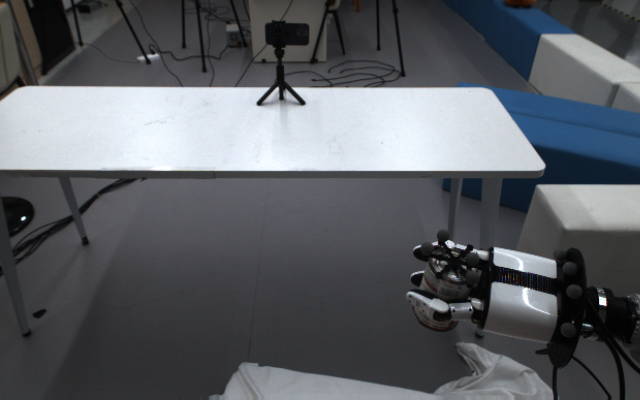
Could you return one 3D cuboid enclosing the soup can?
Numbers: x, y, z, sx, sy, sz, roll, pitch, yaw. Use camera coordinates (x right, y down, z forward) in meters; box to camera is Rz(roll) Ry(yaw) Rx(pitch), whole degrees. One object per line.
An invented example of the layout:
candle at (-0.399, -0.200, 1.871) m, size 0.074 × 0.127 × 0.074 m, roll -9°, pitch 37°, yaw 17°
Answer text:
soup can at (0.176, 0.126, 0.679) m, size 0.067 × 0.101 × 0.067 m, roll 5°, pitch 37°, yaw -4°
